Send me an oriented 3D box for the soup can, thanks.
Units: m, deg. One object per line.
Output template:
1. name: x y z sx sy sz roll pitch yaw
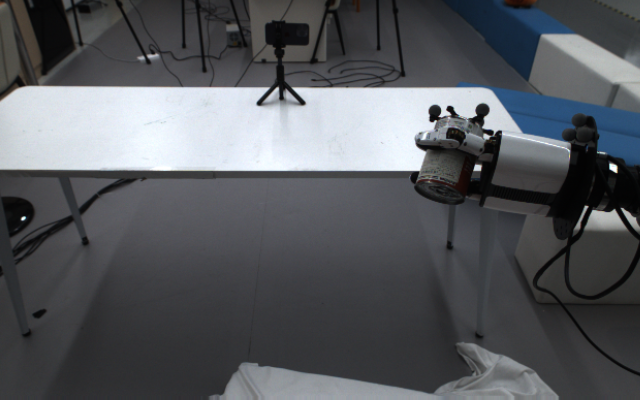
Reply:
1. soup can: 0.173 -0.057 0.652 0.067 0.067 0.101 16 75 19
